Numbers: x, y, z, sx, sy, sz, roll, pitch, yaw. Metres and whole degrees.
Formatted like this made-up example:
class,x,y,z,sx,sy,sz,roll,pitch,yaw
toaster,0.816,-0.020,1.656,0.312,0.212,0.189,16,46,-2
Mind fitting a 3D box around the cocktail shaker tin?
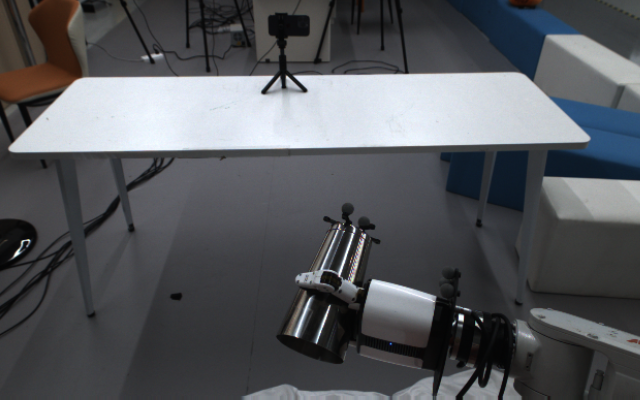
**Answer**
class,x,y,z,sx,sy,sz,roll,pitch,yaw
cocktail shaker tin,0.014,0.121,0.649,0.093,0.093,0.170,14,61,17
